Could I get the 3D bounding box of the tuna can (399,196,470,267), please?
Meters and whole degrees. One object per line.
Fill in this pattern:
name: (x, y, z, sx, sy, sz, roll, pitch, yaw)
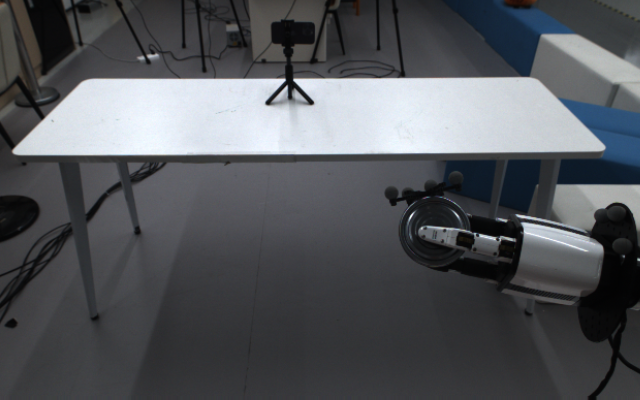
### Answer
tuna can: (0.141, 0.036, 0.588, 0.085, 0.085, 0.034, 12, -6, 14)
